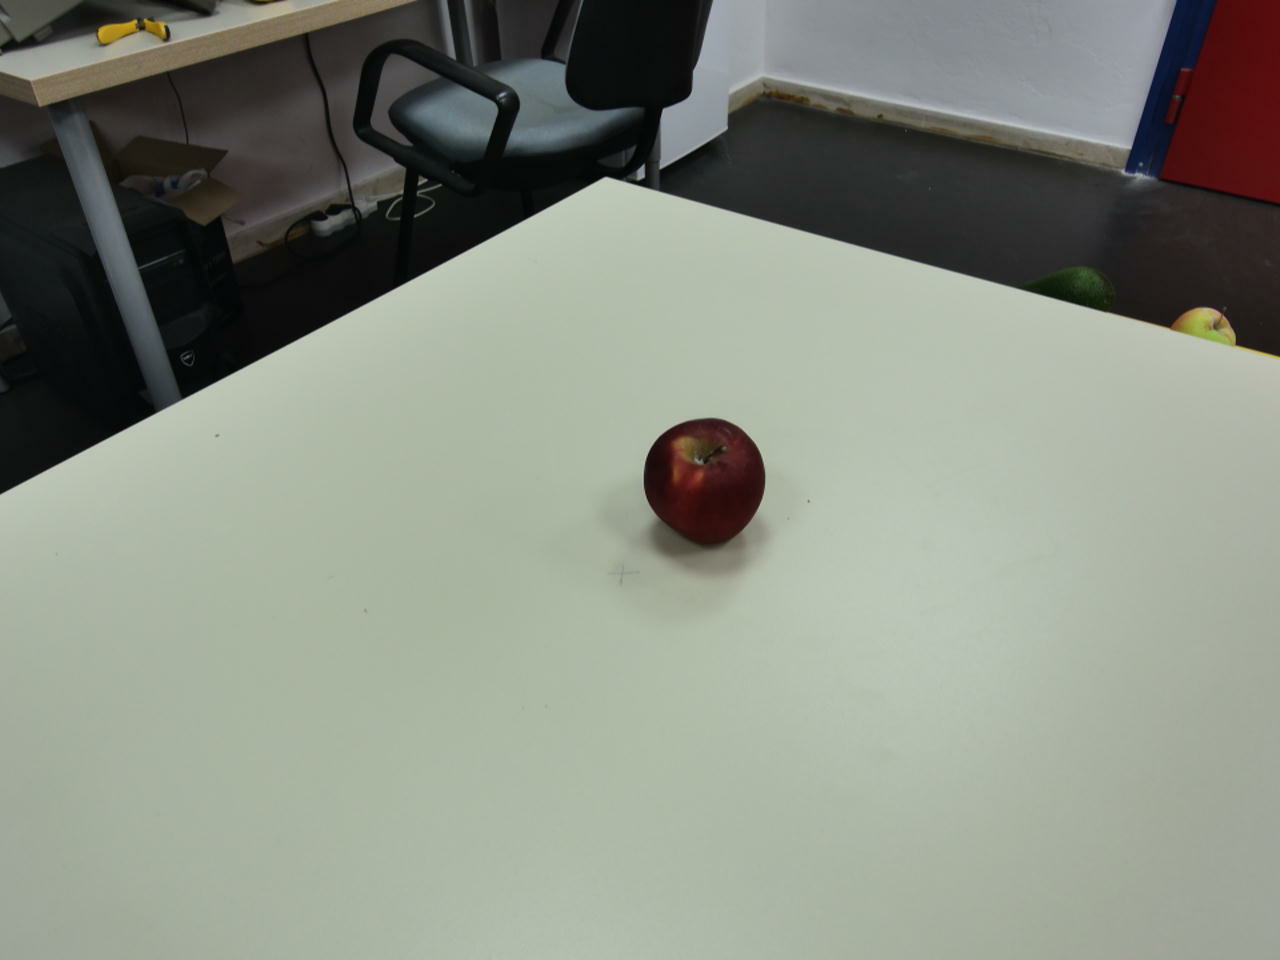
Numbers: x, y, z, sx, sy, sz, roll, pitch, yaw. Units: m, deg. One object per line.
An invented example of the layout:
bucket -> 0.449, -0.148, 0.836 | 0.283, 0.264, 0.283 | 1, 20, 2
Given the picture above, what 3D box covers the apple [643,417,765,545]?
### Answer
apple -> 0.037, 0.001, 0.566 | 0.070, 0.072, 0.070 | 0, 38, 0
